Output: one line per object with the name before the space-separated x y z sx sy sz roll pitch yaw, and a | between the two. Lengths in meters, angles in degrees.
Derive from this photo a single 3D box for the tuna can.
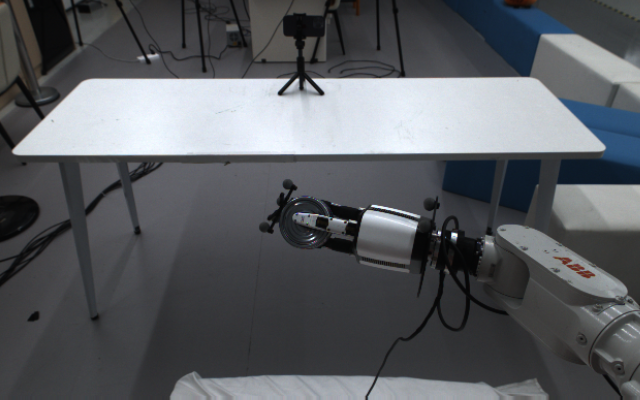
tuna can | -0.019 0.040 0.773 0.085 0.085 0.034 9 -4 10
